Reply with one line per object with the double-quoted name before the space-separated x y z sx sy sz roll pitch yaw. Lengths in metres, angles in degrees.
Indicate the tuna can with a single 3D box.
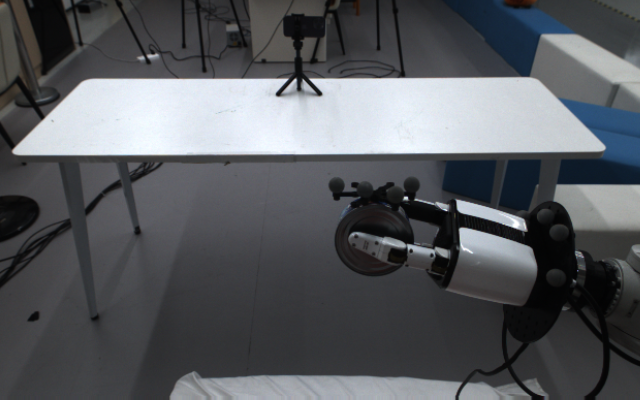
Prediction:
"tuna can" 0.062 0.038 0.538 0.085 0.085 0.034 4 18 3
